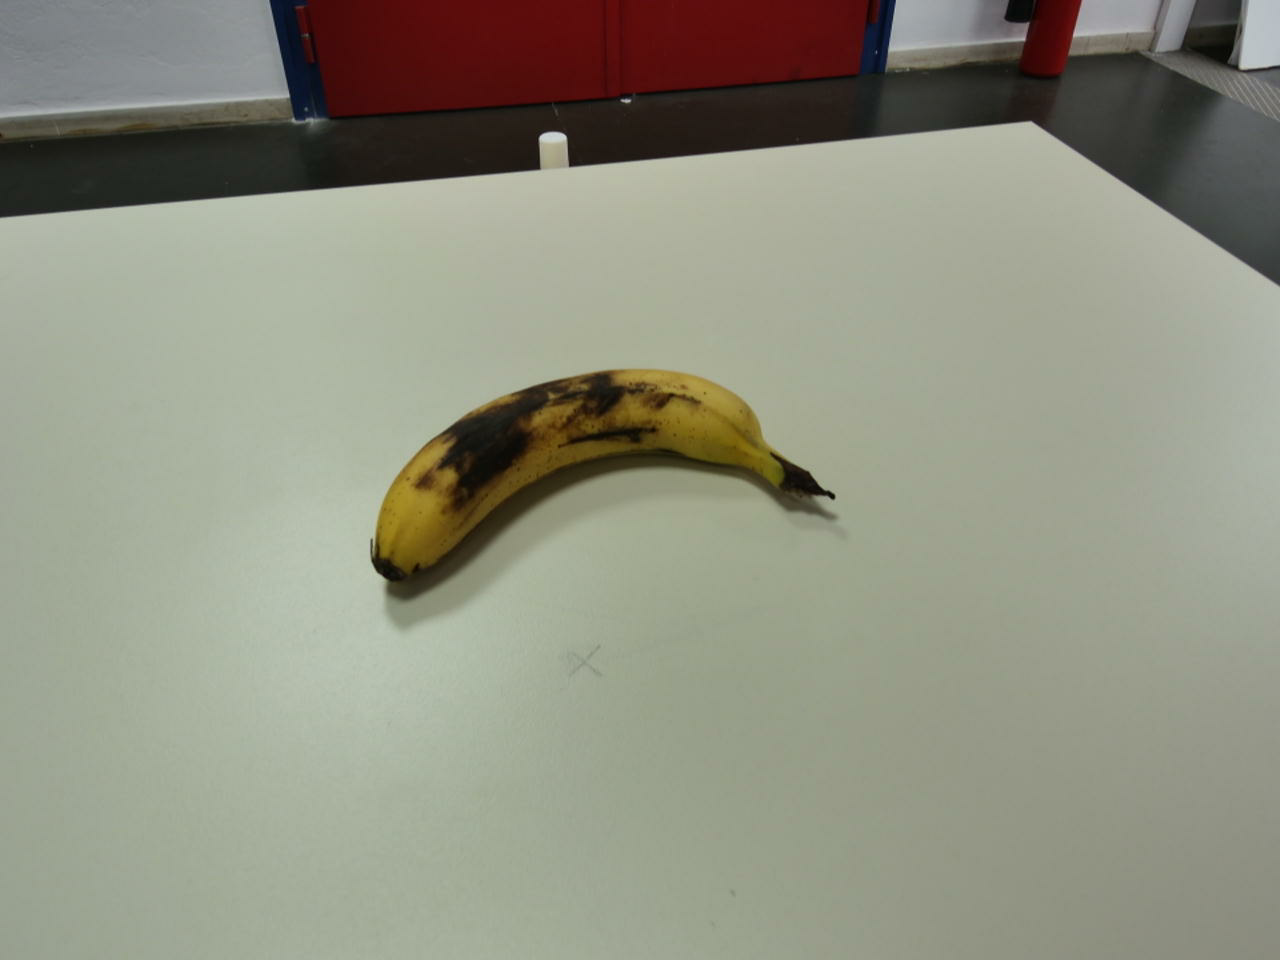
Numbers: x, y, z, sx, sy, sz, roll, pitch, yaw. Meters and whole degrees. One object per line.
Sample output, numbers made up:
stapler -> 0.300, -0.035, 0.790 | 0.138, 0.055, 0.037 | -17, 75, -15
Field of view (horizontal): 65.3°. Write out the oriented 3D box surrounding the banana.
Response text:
banana -> -0.023, -0.010, 0.426 | 0.187, 0.039, 0.094 | -9, 39, -12
